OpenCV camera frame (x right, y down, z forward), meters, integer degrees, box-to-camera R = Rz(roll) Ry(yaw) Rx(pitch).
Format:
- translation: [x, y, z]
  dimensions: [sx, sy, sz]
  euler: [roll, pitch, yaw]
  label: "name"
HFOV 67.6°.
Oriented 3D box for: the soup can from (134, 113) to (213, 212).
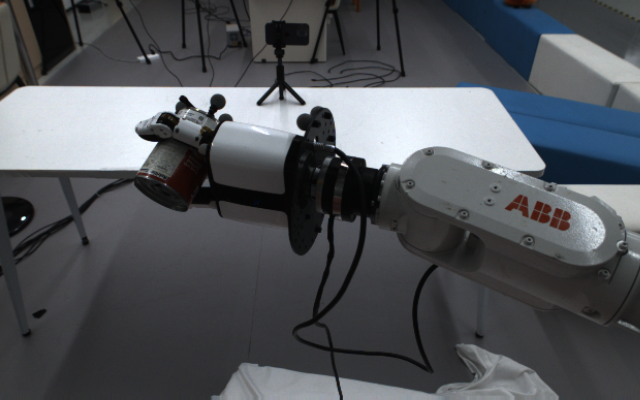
- translation: [-0.156, -0.046, 0.554]
  dimensions: [0.067, 0.067, 0.101]
  euler: [15, 63, 18]
  label: "soup can"
